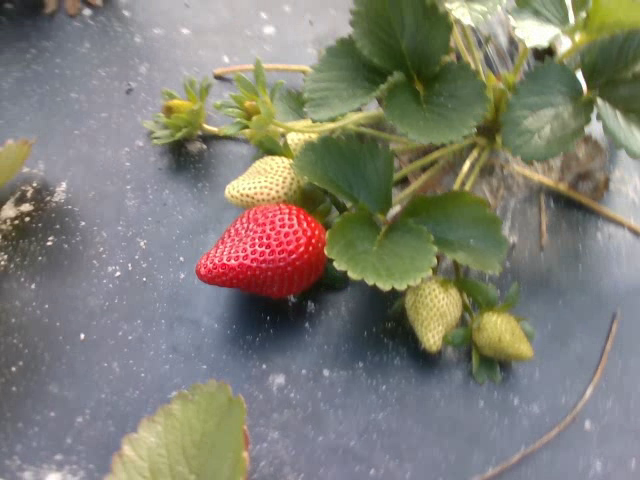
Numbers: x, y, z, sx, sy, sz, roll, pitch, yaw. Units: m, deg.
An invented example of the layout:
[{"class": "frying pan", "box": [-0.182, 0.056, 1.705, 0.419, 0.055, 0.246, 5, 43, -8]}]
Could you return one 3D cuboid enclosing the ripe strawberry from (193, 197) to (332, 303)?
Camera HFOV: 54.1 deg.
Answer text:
[{"class": "ripe strawberry", "box": [-0.032, 0.005, 0.259, 0.055, 0.048, 0.051, -13, 12, -39]}]
